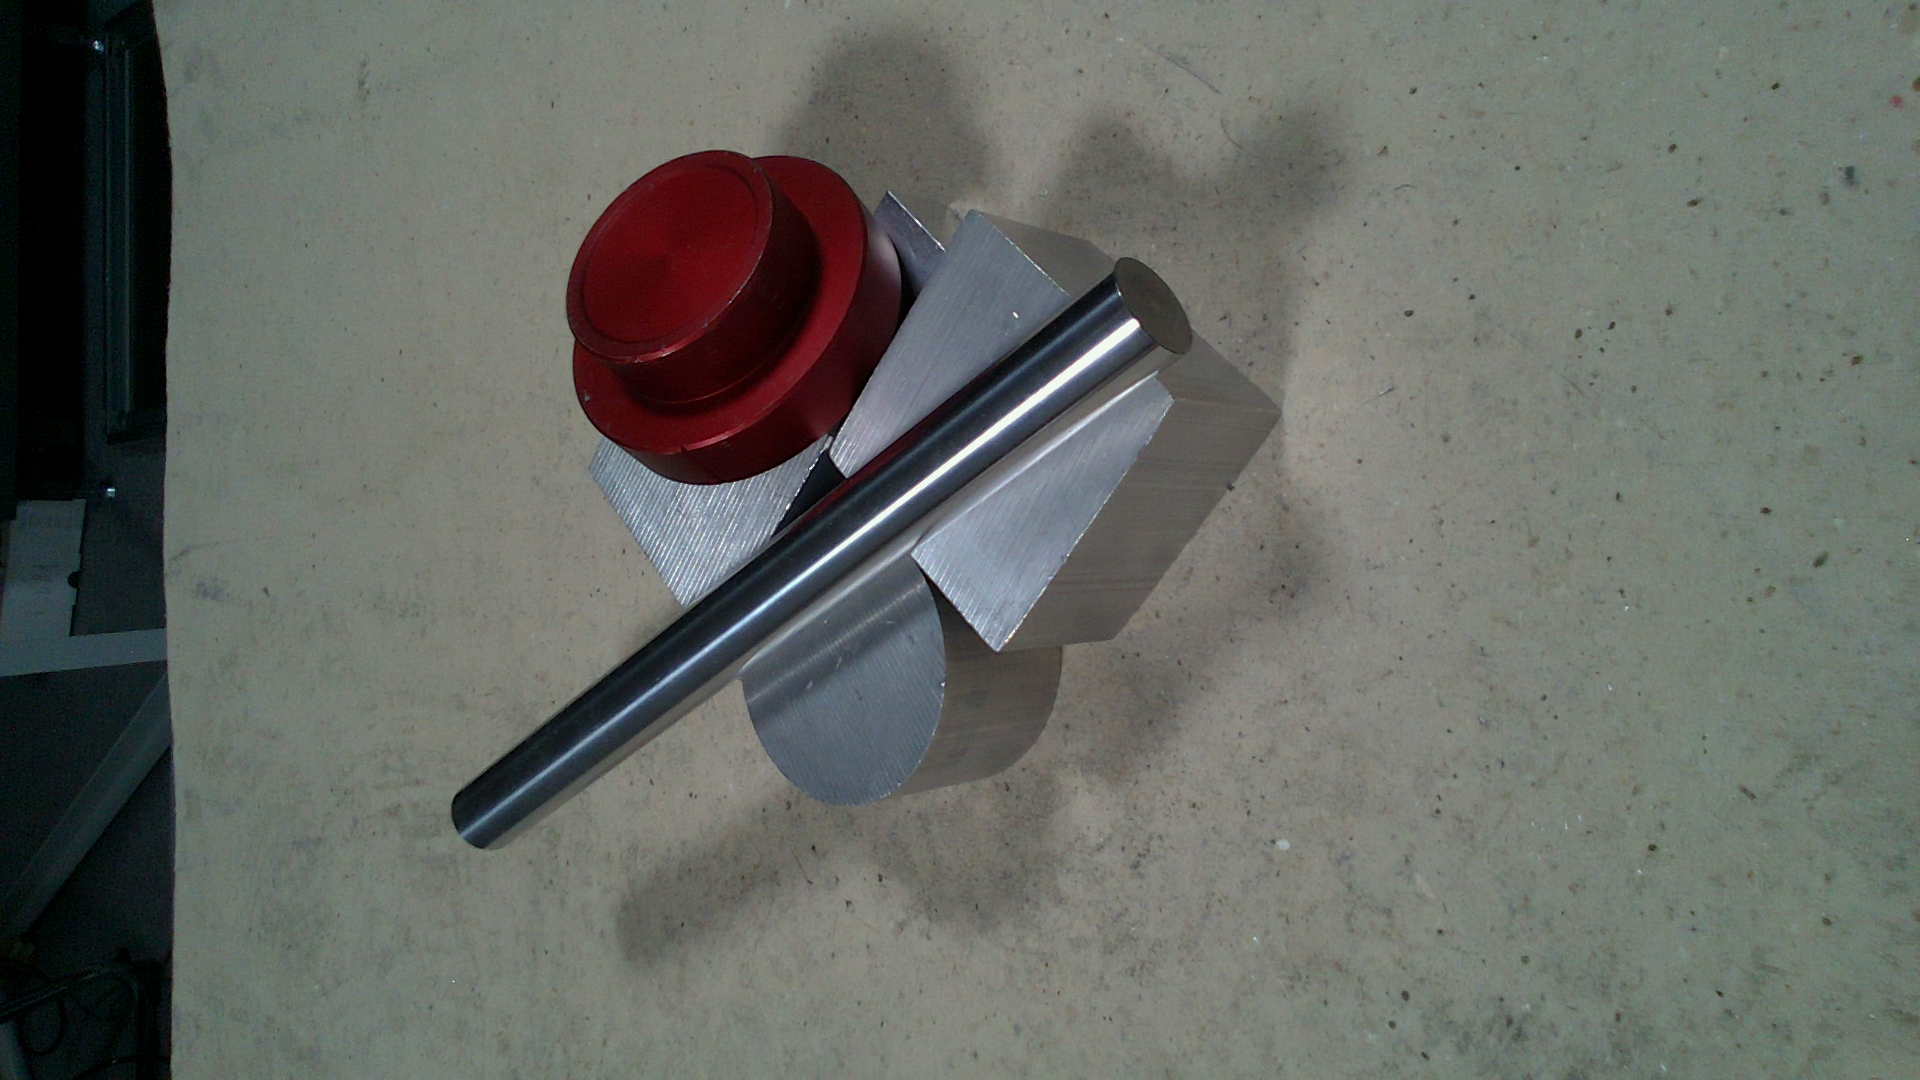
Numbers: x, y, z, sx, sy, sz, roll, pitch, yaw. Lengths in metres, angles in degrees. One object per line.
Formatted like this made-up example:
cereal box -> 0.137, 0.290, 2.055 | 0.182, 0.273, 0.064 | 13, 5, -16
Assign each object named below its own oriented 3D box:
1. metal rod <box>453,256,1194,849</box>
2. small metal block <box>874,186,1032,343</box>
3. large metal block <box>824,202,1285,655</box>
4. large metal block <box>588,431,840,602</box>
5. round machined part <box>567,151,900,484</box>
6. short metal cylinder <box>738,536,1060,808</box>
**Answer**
metal rod -> -0.059, 0.021, 0.378 | 0.299, 0.025, 0.025 | -35, 68, 35
small metal block -> -0.012, -0.067, 0.404 | 0.050, 0.025, 0.050 | 50, 120, 28
large metal block -> 0.022, -0.028, 0.360 | 0.080, 0.050, 0.080 | 49, 119, 29
large metal block -> -0.062, -0.026, 0.429 | 0.080, 0.050, 0.080 | 50, 119, 29
round machined part -> -0.069, -0.068, 0.384 | 0.098, 0.042, 0.098 | -12, 59, 22
short metal cylinder -> -0.018, 0.033, 0.393 | 0.080, 0.050, 0.080 | 0, 90, 40
